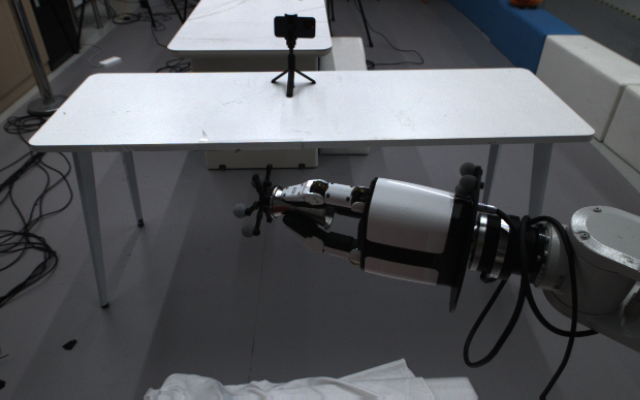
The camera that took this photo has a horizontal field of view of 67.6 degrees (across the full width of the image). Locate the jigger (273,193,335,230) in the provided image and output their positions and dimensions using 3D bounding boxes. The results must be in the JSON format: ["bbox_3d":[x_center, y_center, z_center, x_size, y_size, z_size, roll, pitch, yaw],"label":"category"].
[{"bbox_3d":[-0.014,0.003,0.567,0.071,0.043,0.043,9,35,16],"label":"jigger"}]
